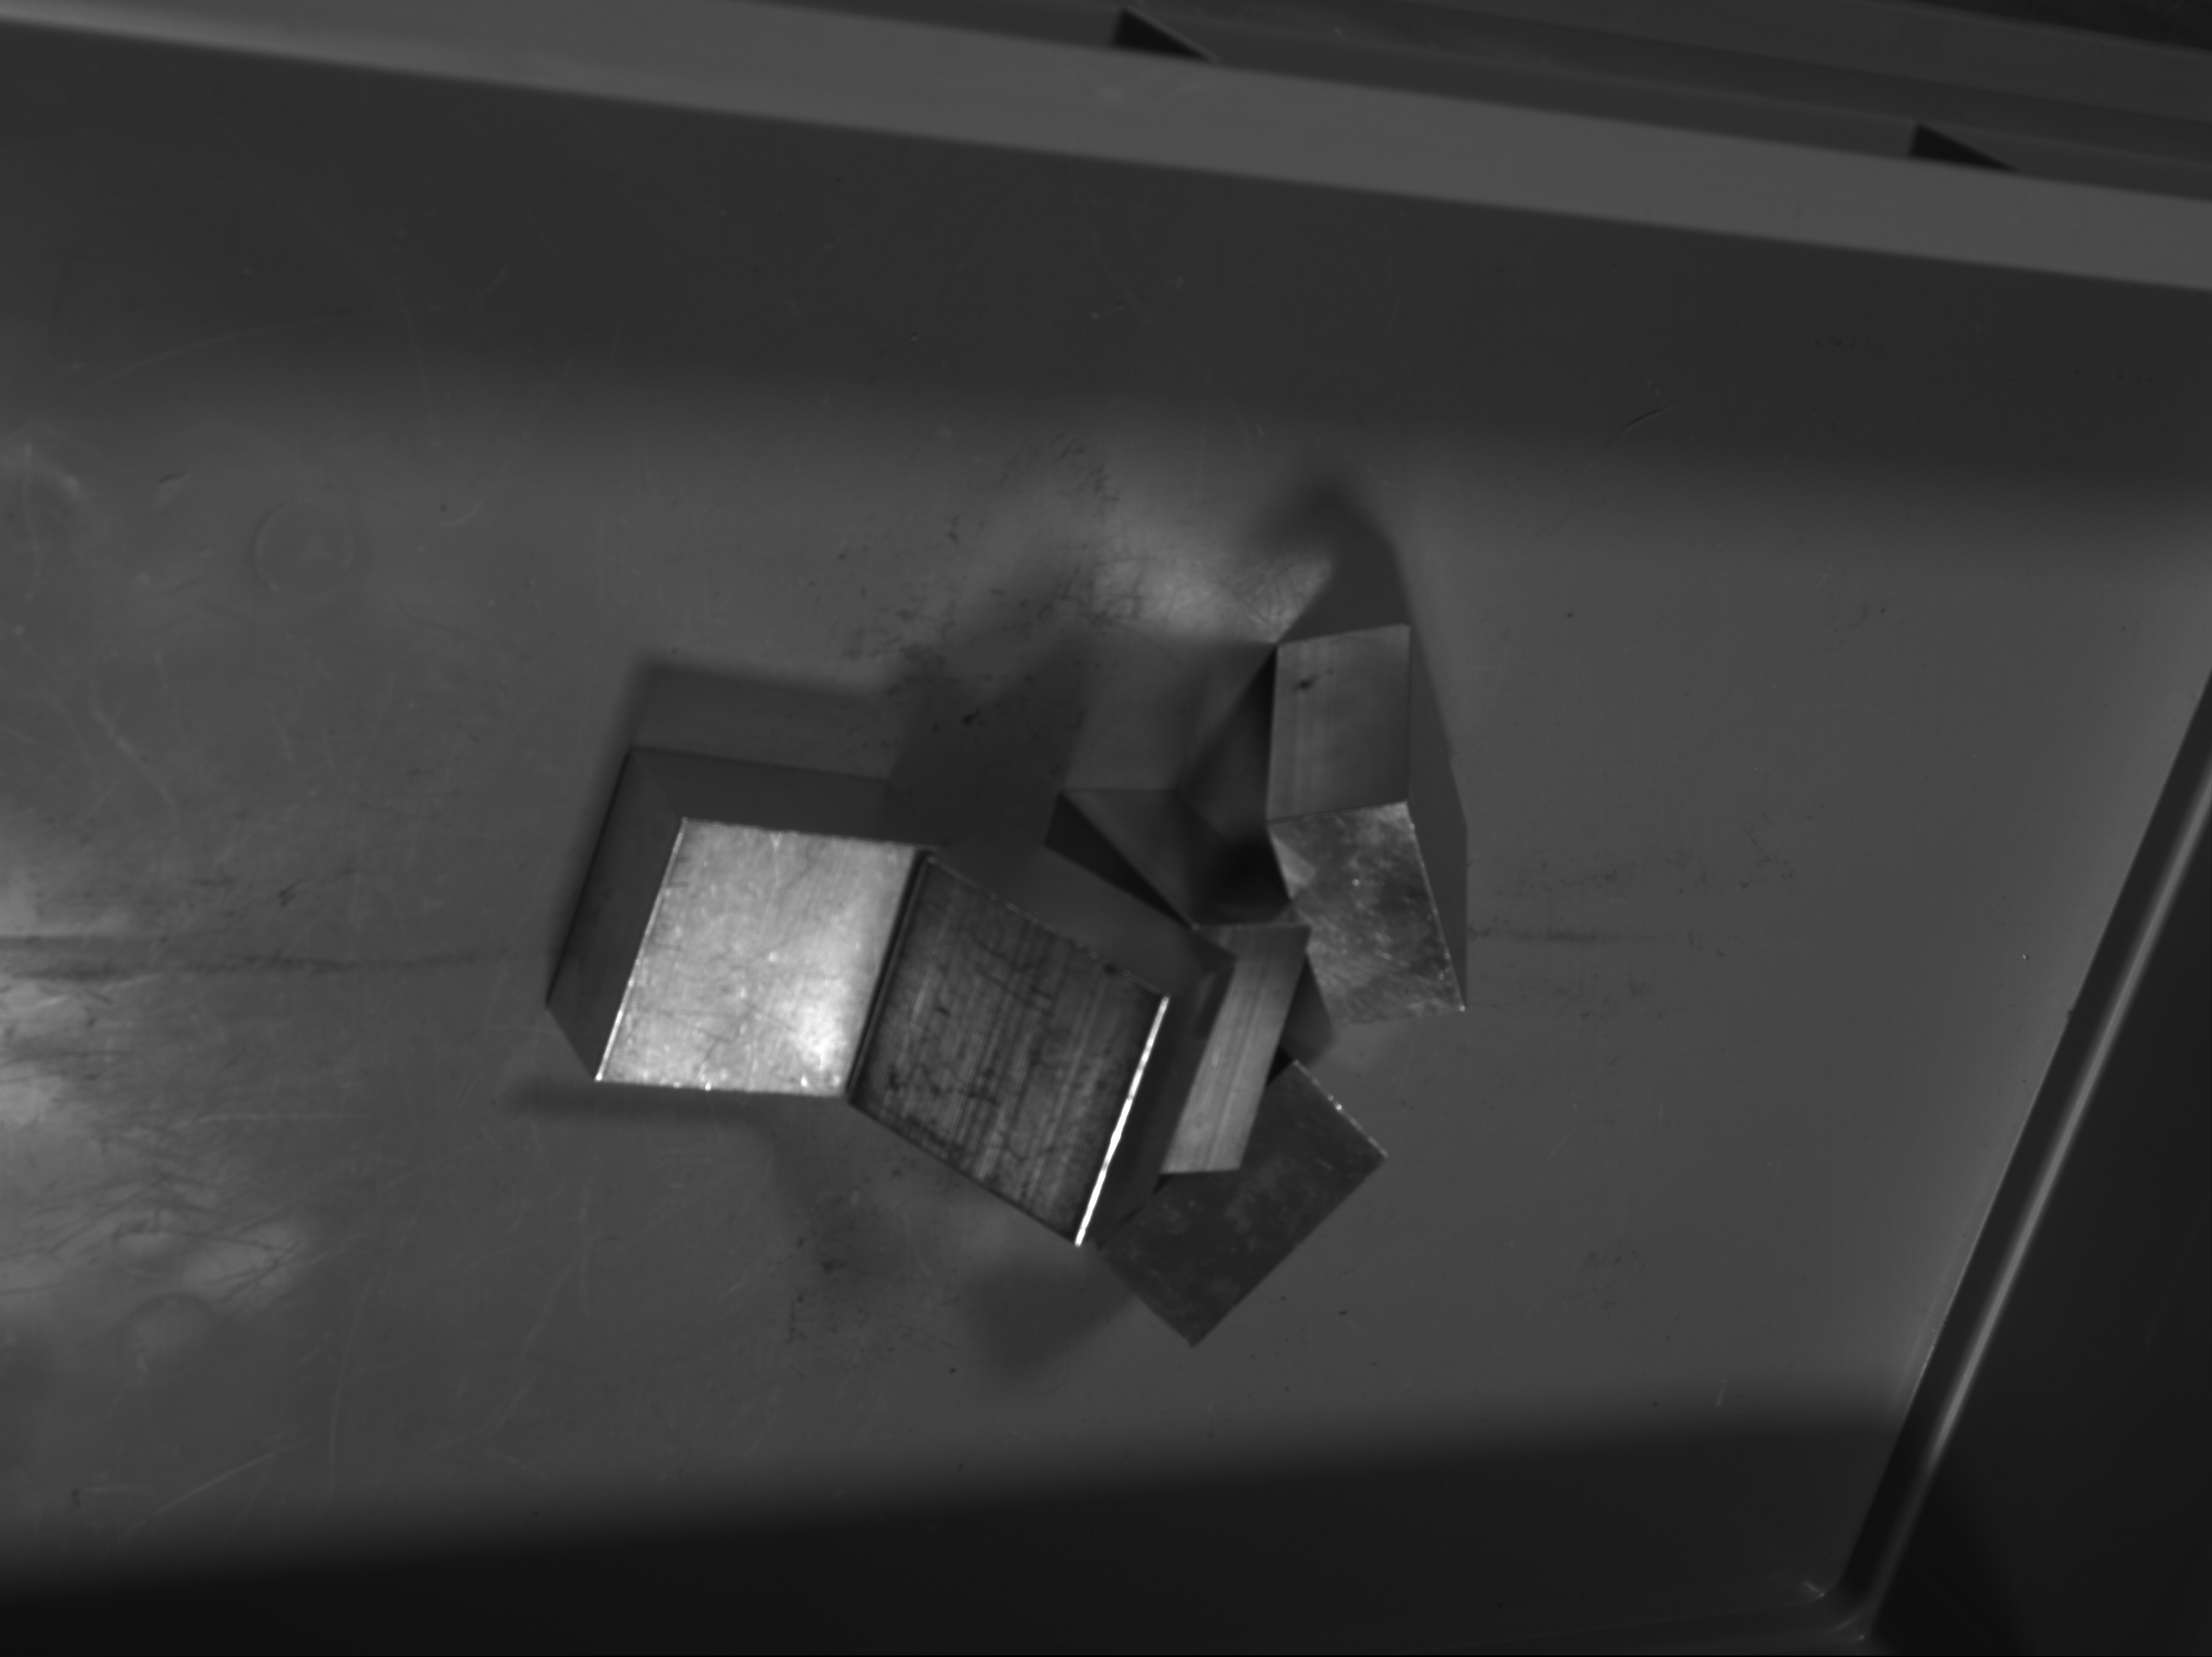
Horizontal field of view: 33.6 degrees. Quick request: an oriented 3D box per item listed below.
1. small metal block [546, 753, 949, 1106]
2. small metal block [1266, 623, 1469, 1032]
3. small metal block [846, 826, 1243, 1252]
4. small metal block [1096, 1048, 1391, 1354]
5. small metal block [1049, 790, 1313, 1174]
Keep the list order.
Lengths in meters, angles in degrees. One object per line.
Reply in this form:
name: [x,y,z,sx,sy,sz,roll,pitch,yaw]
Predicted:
small metal block: [-0.061,0.018,0.623,0.050,0.025,0.050,7,114,-33]
small metal block: [0.048,0.000,0.657,0.025,0.050,0.050,-9,129,13]
small metal block: [-0.011,0.035,0.625,0.025,0.050,0.050,-25,139,-56]
small metal block: [0.023,0.067,0.685,0.050,0.050,0.025,-44,95,0]
small metal block: [0.008,0.027,0.654,0.025,0.050,0.050,1,118,-31]
